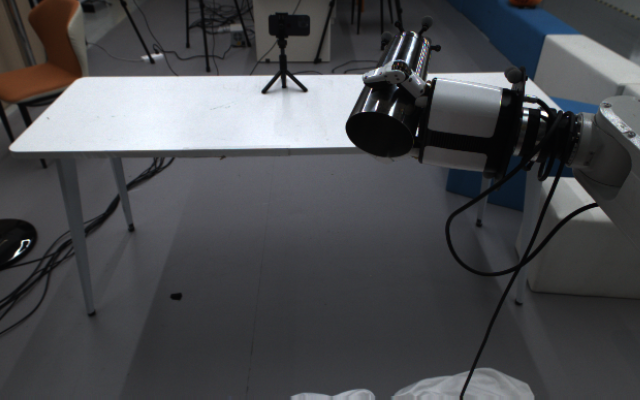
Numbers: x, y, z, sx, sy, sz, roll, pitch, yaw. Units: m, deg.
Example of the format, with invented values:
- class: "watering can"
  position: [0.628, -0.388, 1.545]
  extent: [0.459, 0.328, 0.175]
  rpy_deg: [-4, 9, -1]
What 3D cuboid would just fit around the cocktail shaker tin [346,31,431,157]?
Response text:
- class: "cocktail shaker tin"
  position: [0.104, -0.154, 0.673]
  extent: [0.093, 0.093, 0.170]
  rpy_deg: [13, 60, 16]
